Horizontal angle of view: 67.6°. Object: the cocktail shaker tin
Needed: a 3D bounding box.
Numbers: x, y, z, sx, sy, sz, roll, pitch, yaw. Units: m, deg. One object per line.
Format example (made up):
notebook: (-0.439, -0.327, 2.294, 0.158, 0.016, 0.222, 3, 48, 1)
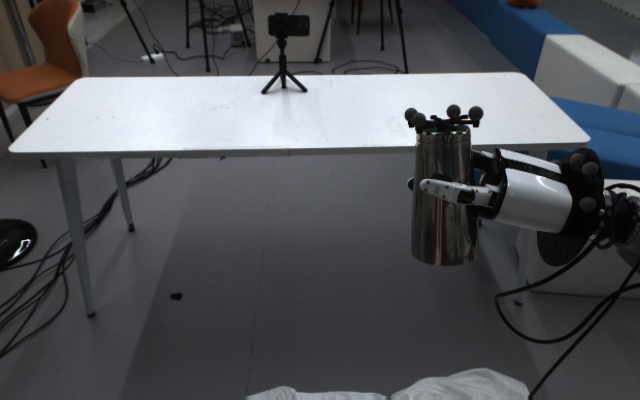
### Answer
cocktail shaker tin: (0.164, -0.011, 0.638, 0.093, 0.170, 0.093, -6, 19, 2)
